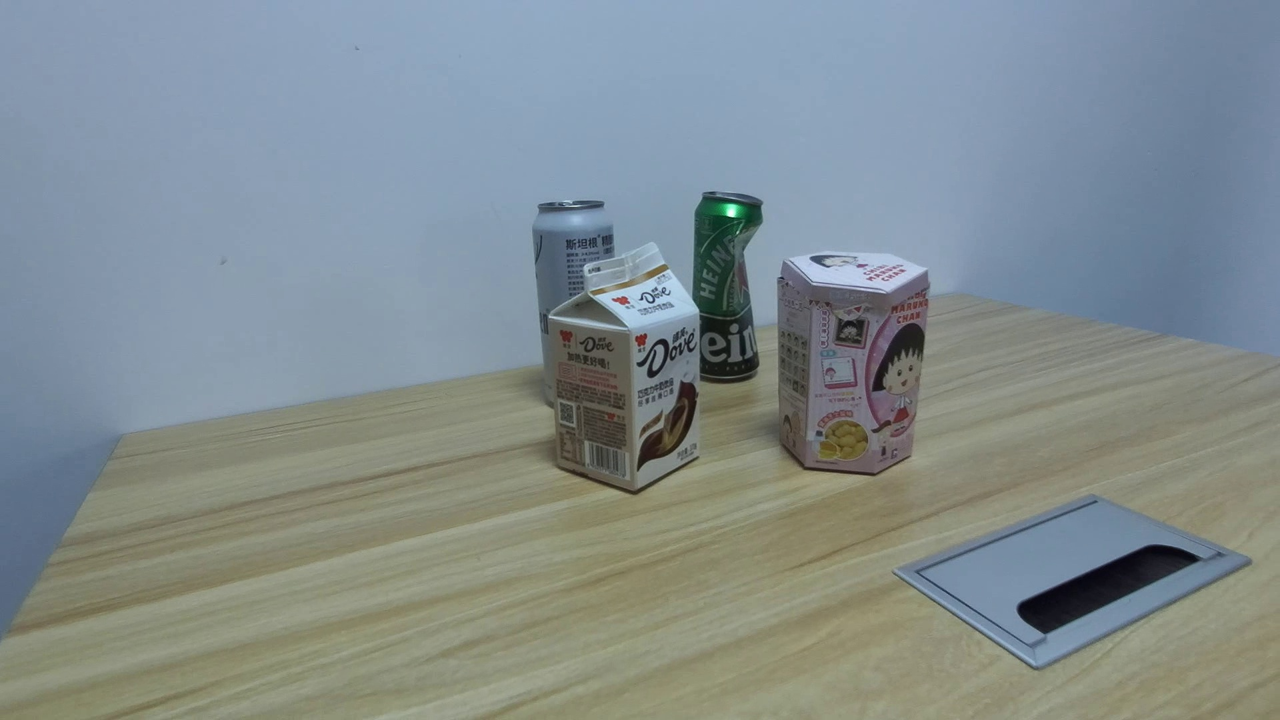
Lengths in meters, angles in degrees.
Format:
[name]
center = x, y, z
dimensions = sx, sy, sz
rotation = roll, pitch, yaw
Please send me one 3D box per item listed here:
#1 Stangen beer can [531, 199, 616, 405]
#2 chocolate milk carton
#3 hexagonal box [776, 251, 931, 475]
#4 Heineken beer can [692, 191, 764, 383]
[Stangen beer can]
center = -0.050, -0.043, 0.590
dimensions = 0.067, 0.171, 0.067
rotation = -4, 8, 1
[chocolate milk carton]
center = -0.009, 0.000, 0.472
dimensions = 0.073, 0.148, 0.076
rotation = 12, 21, 38
[hexagonal box]
center = 0.142, 0.000, 0.481
dimensions = 0.092, 0.135, 0.084
rotation = -15, 22, -37
[Heineken beer can]
center = 0.081, -0.065, 0.647
dimensions = 0.069, 0.168, 0.069
rotation = -6, 18, -27
